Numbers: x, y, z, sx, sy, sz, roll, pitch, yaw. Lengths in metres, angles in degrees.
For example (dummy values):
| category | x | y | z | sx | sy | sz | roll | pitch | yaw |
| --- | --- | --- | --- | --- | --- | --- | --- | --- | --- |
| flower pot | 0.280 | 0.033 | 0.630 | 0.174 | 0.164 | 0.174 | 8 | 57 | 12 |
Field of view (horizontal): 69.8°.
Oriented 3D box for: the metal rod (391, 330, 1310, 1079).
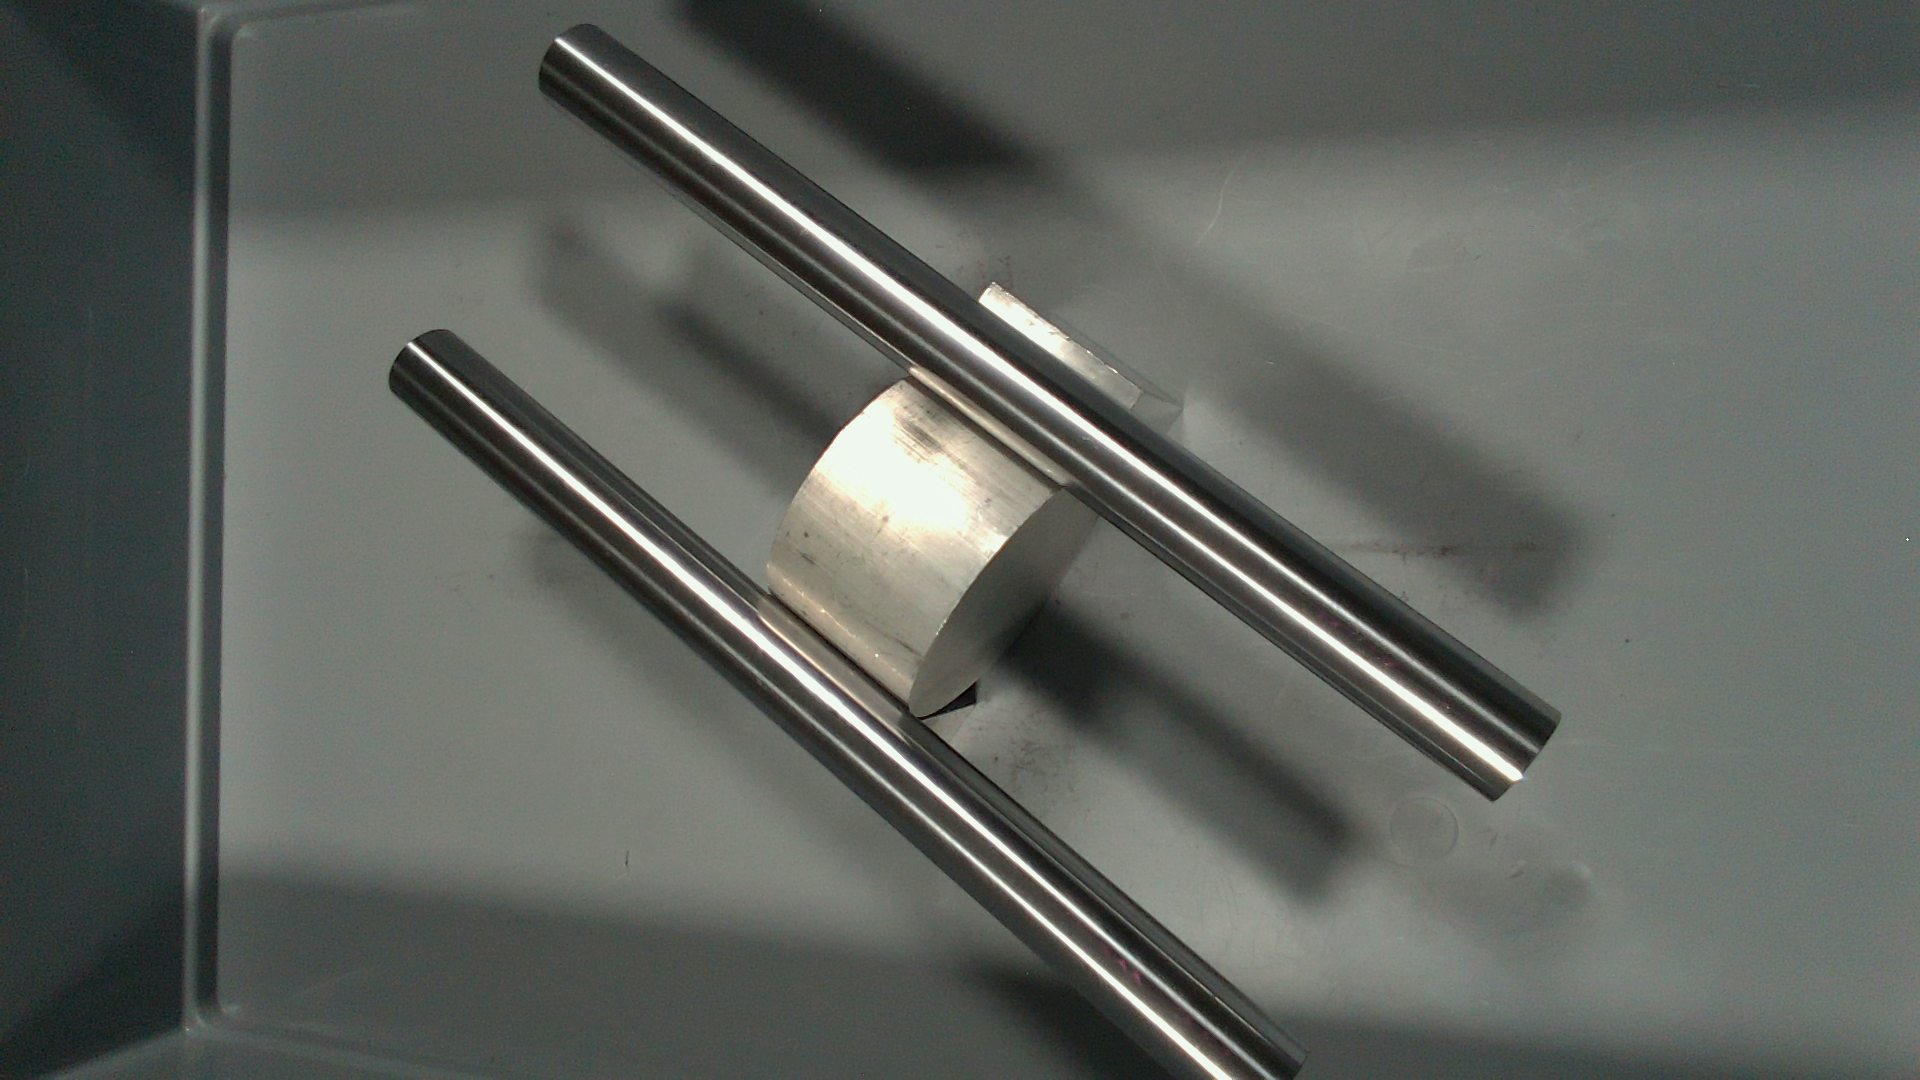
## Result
| category | x | y | z | sx | sy | sz | roll | pitch | yaw |
| --- | --- | --- | --- | --- | --- | --- | --- | --- | --- |
| metal rod | -0.041 | 0.038 | 0.358 | 0.299 | 0.025 | 0.025 | 38 | 102 | 16 |

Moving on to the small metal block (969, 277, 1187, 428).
| category | x | y | z | sx | sy | sz | roll | pitch | yaw |
| --- | --- | --- | --- | --- | --- | --- | --- | --- | --- |
| small metal block | 0.029 | -0.042 | 0.370 | 0.050 | 0.050 | 0.025 | 39 | 102 | 16 |

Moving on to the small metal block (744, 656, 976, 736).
| category | x | y | z | sx | sy | sz | roll | pitch | yaw |
| --- | --- | --- | --- | --- | --- | --- | --- | --- | --- |
| small metal block | -0.030 | 0.044 | 0.392 | 0.050 | 0.050 | 0.025 | 39 | 102 | 16 |

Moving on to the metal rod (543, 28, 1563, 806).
| category | x | y | z | sx | sy | sz | roll | pitch | yaw |
| --- | --- | --- | --- | --- | --- | --- | --- | --- | --- |
| metal rod | 0.009 | -0.041 | 0.338 | 0.299 | 0.025 | 0.025 | 38 | 102 | 16 |

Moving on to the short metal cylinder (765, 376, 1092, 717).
| category | x | y | z | sx | sy | sz | roll | pitch | yaw |
| --- | --- | --- | --- | --- | --- | --- | --- | --- | --- |
| short metal cylinder | -0.006 | 0.000 | 0.368 | 0.050 | 0.080 | 0.080 | 38 | 102 | 16 |
